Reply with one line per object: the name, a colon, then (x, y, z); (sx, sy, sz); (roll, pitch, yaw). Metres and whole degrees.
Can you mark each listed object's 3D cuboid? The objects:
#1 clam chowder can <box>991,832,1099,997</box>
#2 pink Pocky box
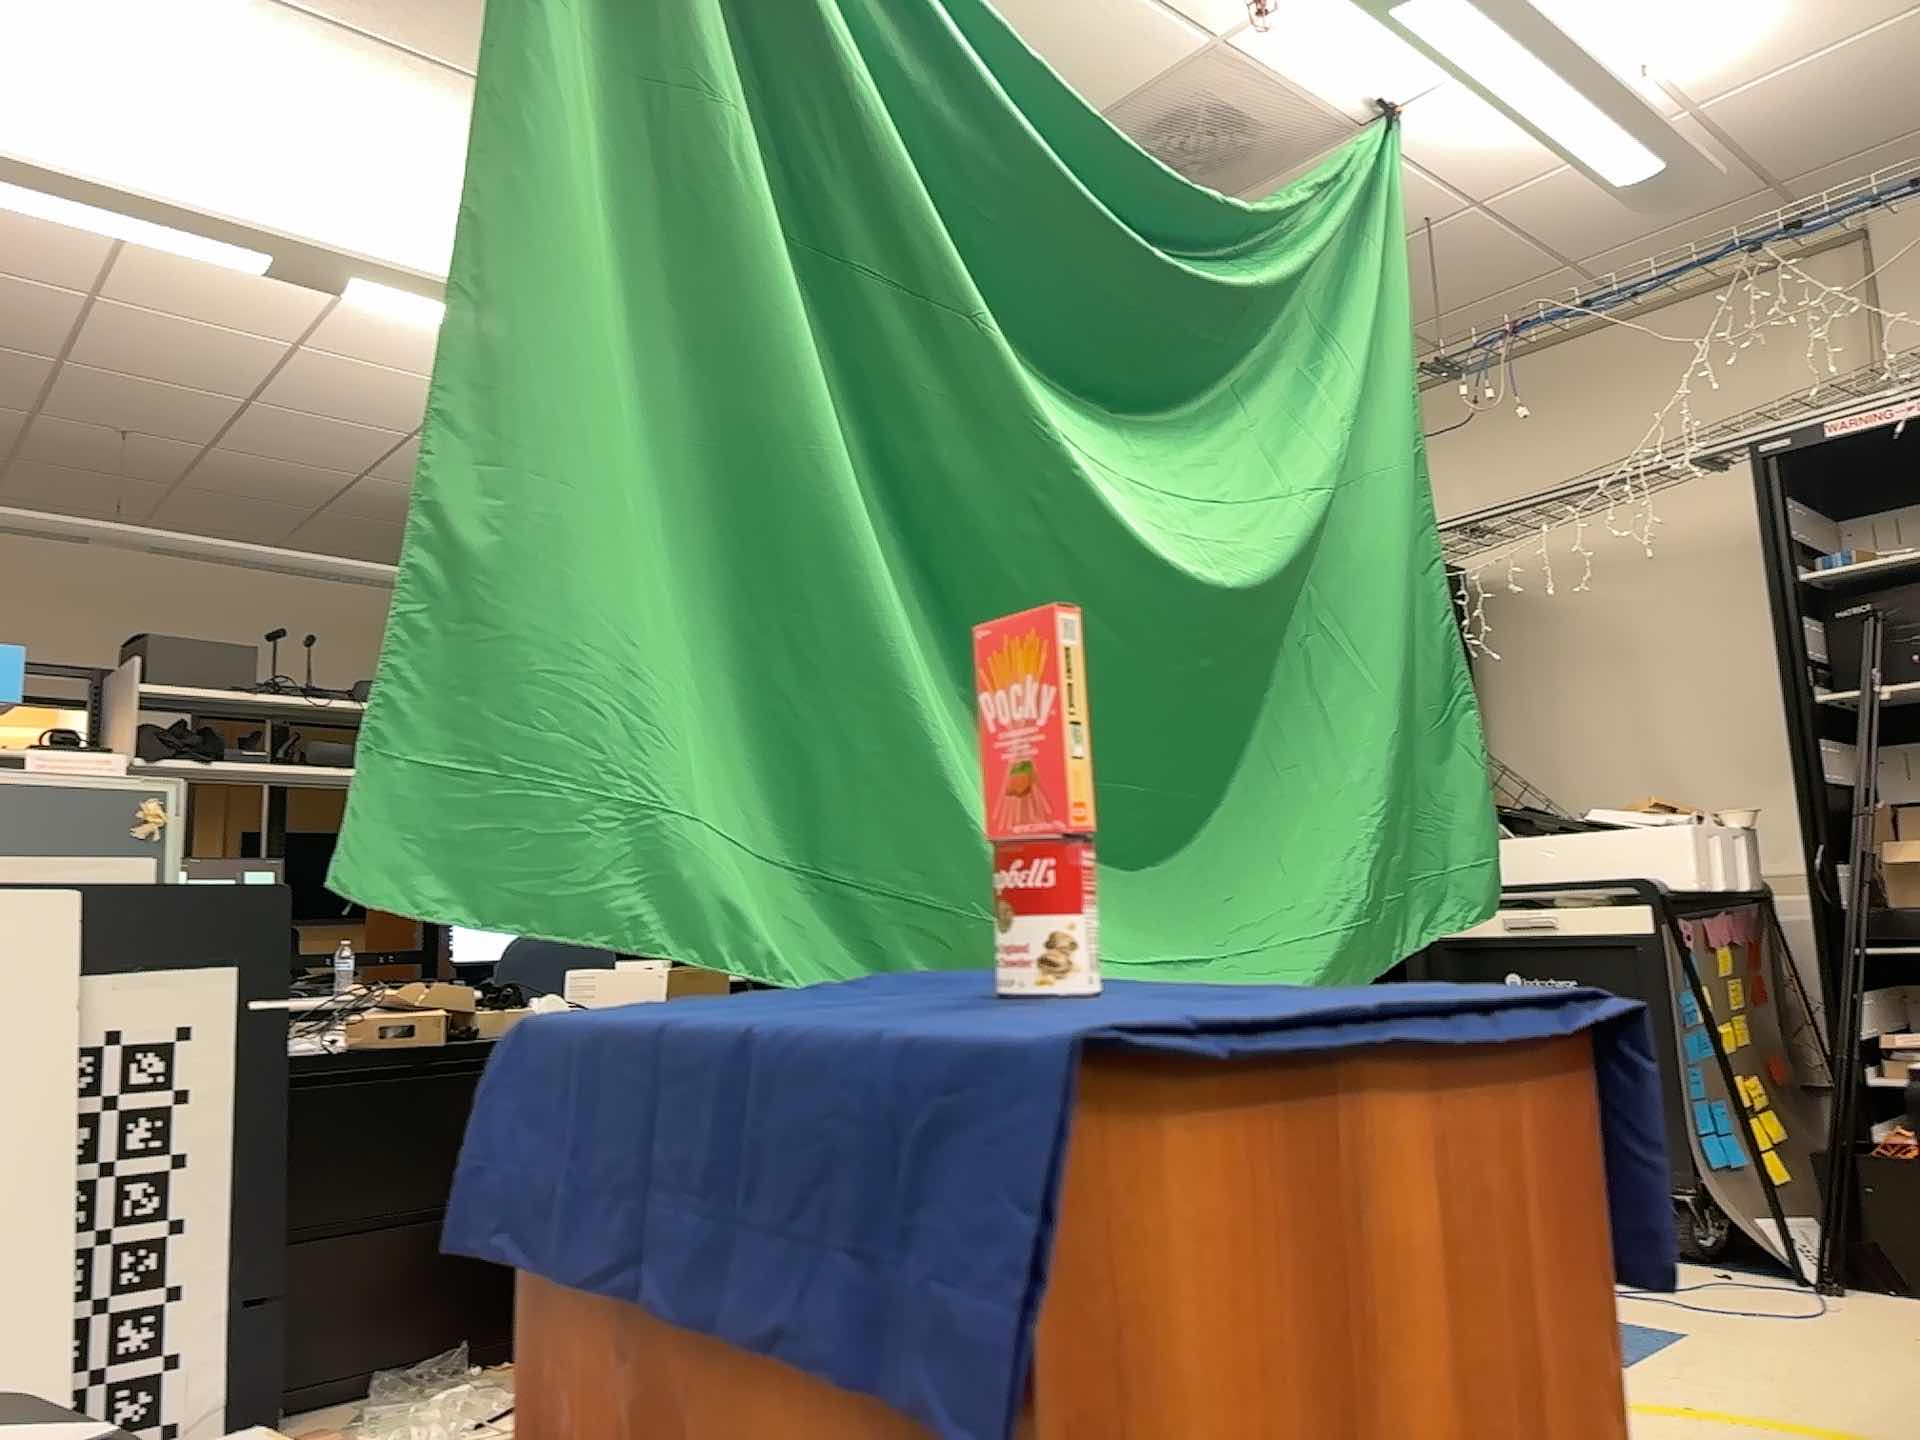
clam chowder can: (0.055, 0.126, 0.870); (0.068, 0.102, 0.068); (-1, -9, 0)
pink Pocky box: (0.047, 0.000, 0.889); (0.029, 0.155, 0.084); (4, -11, -36)
